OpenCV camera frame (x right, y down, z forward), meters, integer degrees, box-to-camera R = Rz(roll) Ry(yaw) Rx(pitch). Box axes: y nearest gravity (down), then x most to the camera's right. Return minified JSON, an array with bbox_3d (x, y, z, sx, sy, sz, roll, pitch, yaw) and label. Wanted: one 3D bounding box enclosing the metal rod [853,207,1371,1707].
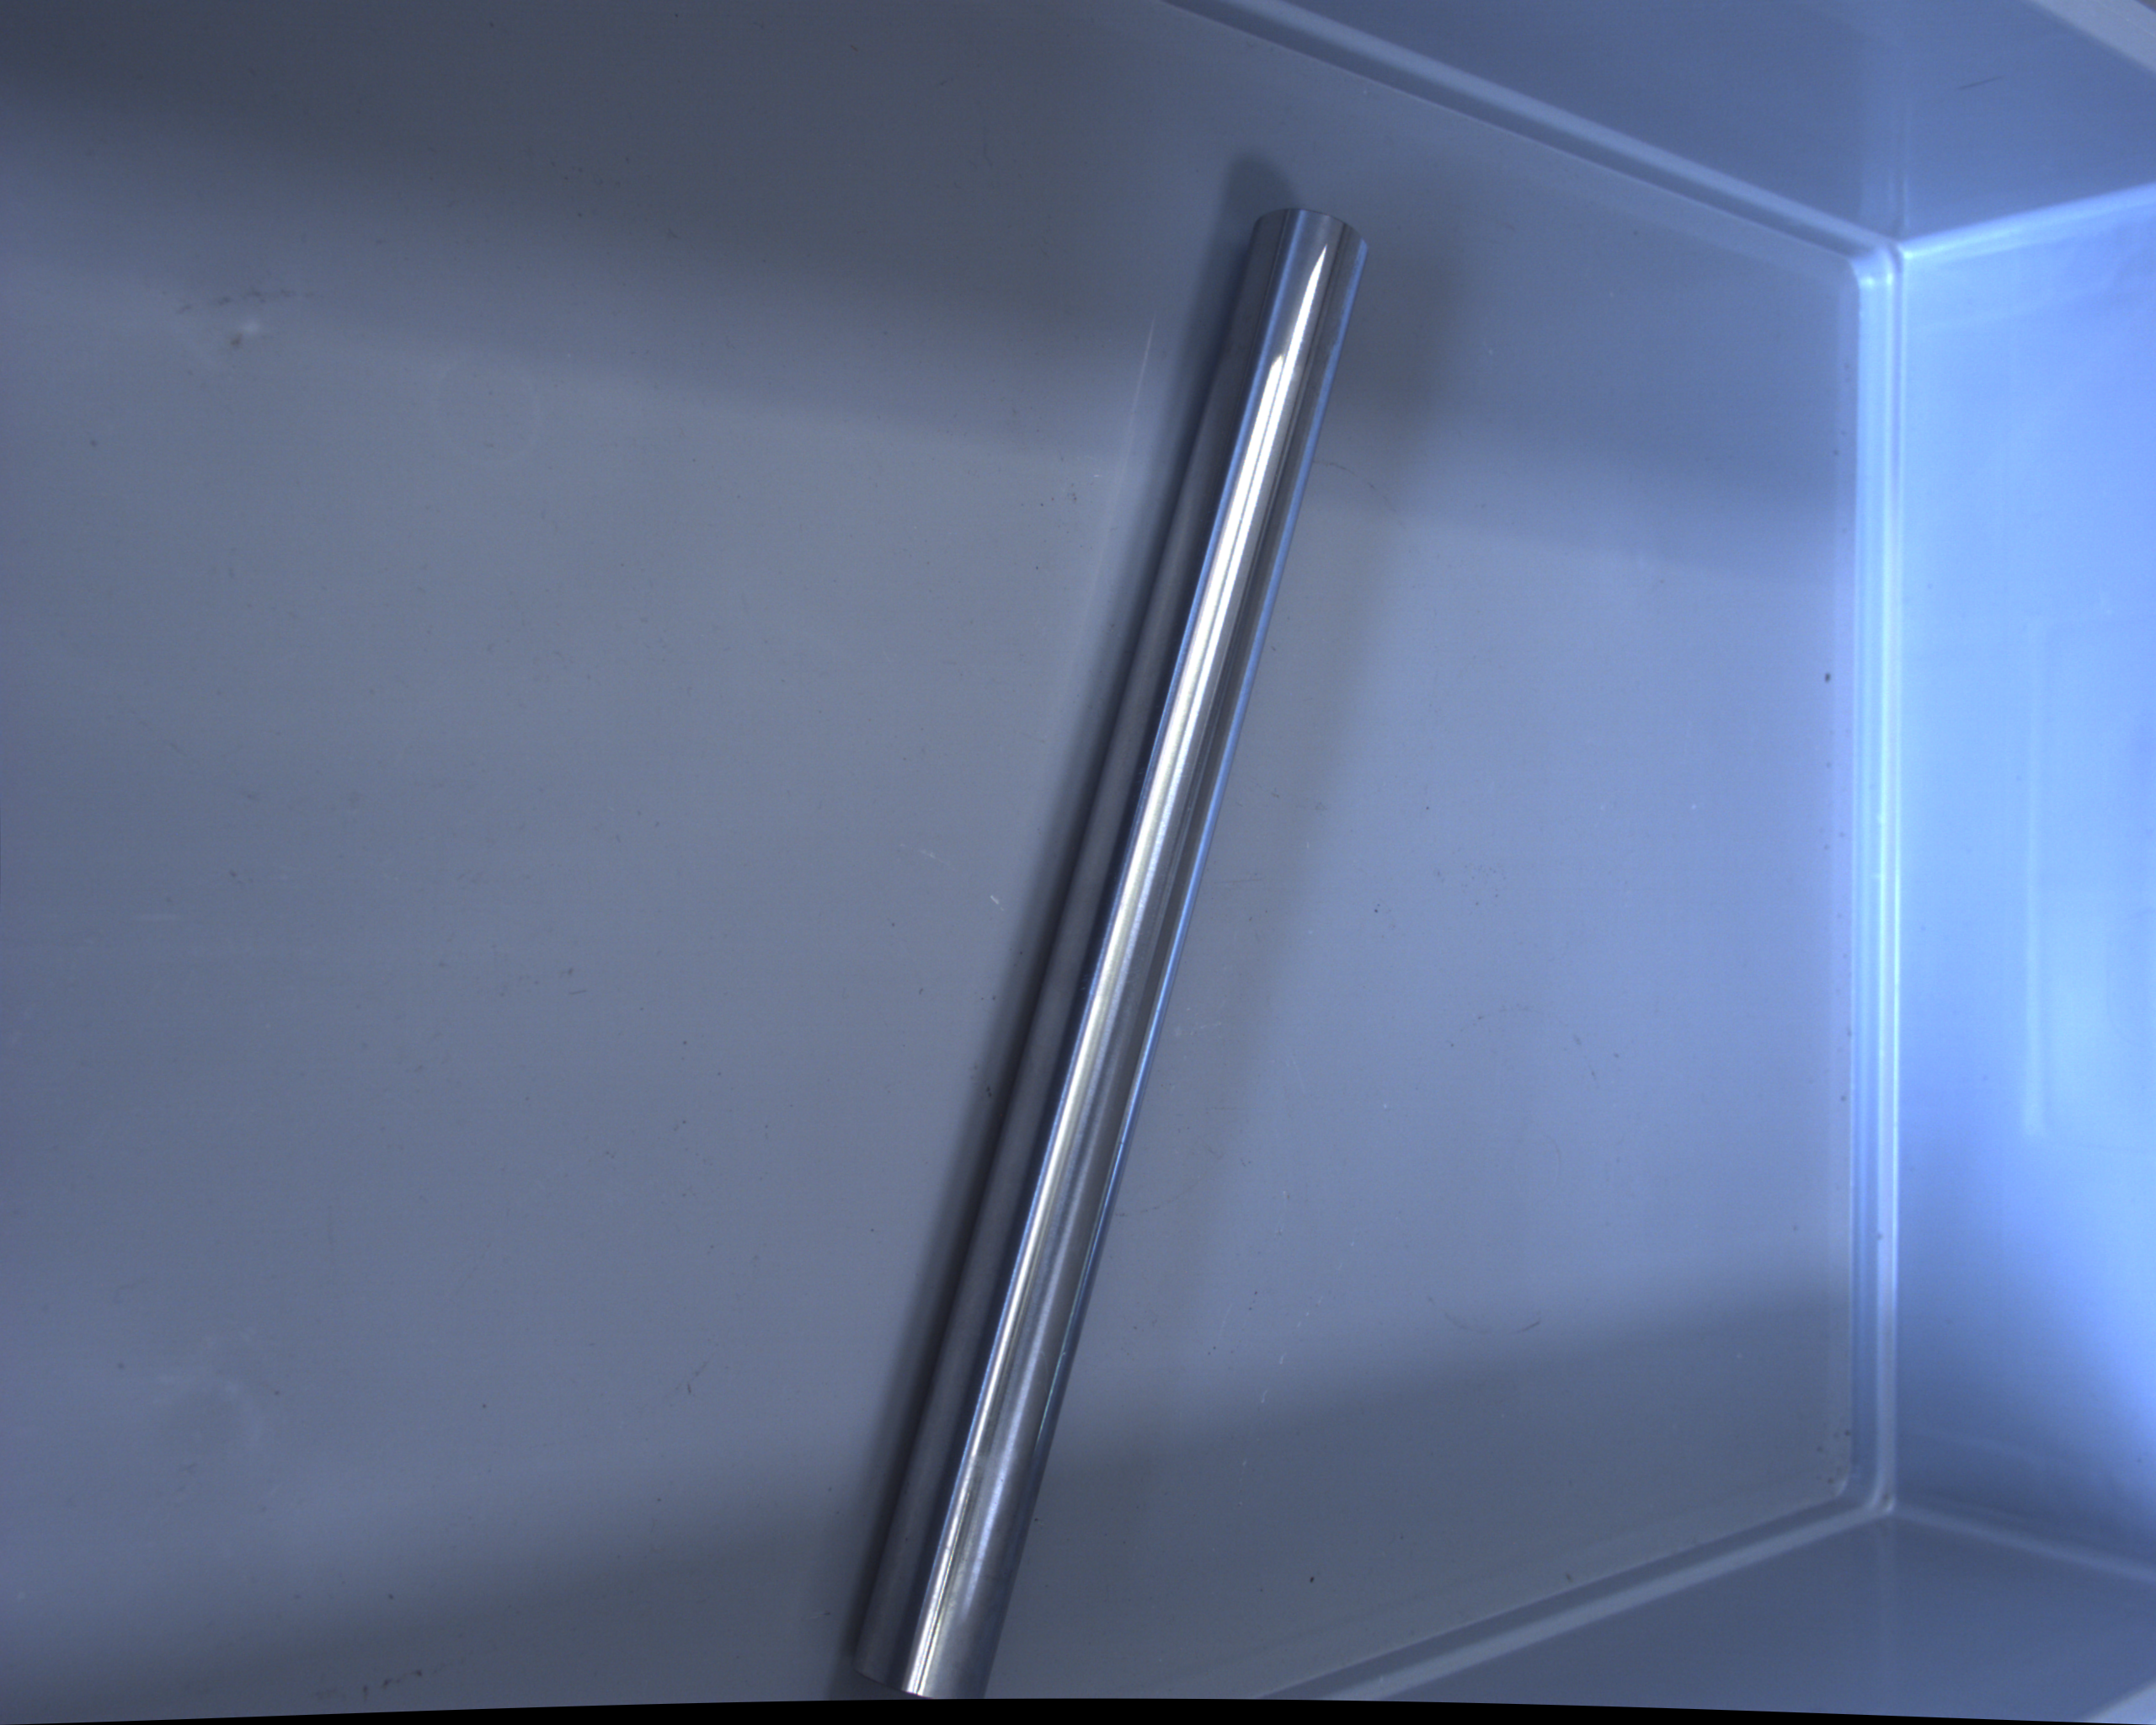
[{"bbox_3d":[0.011,0.008,0.411,0.025,0.025,0.299,25,74,-37],"label":"metal rod"}]
